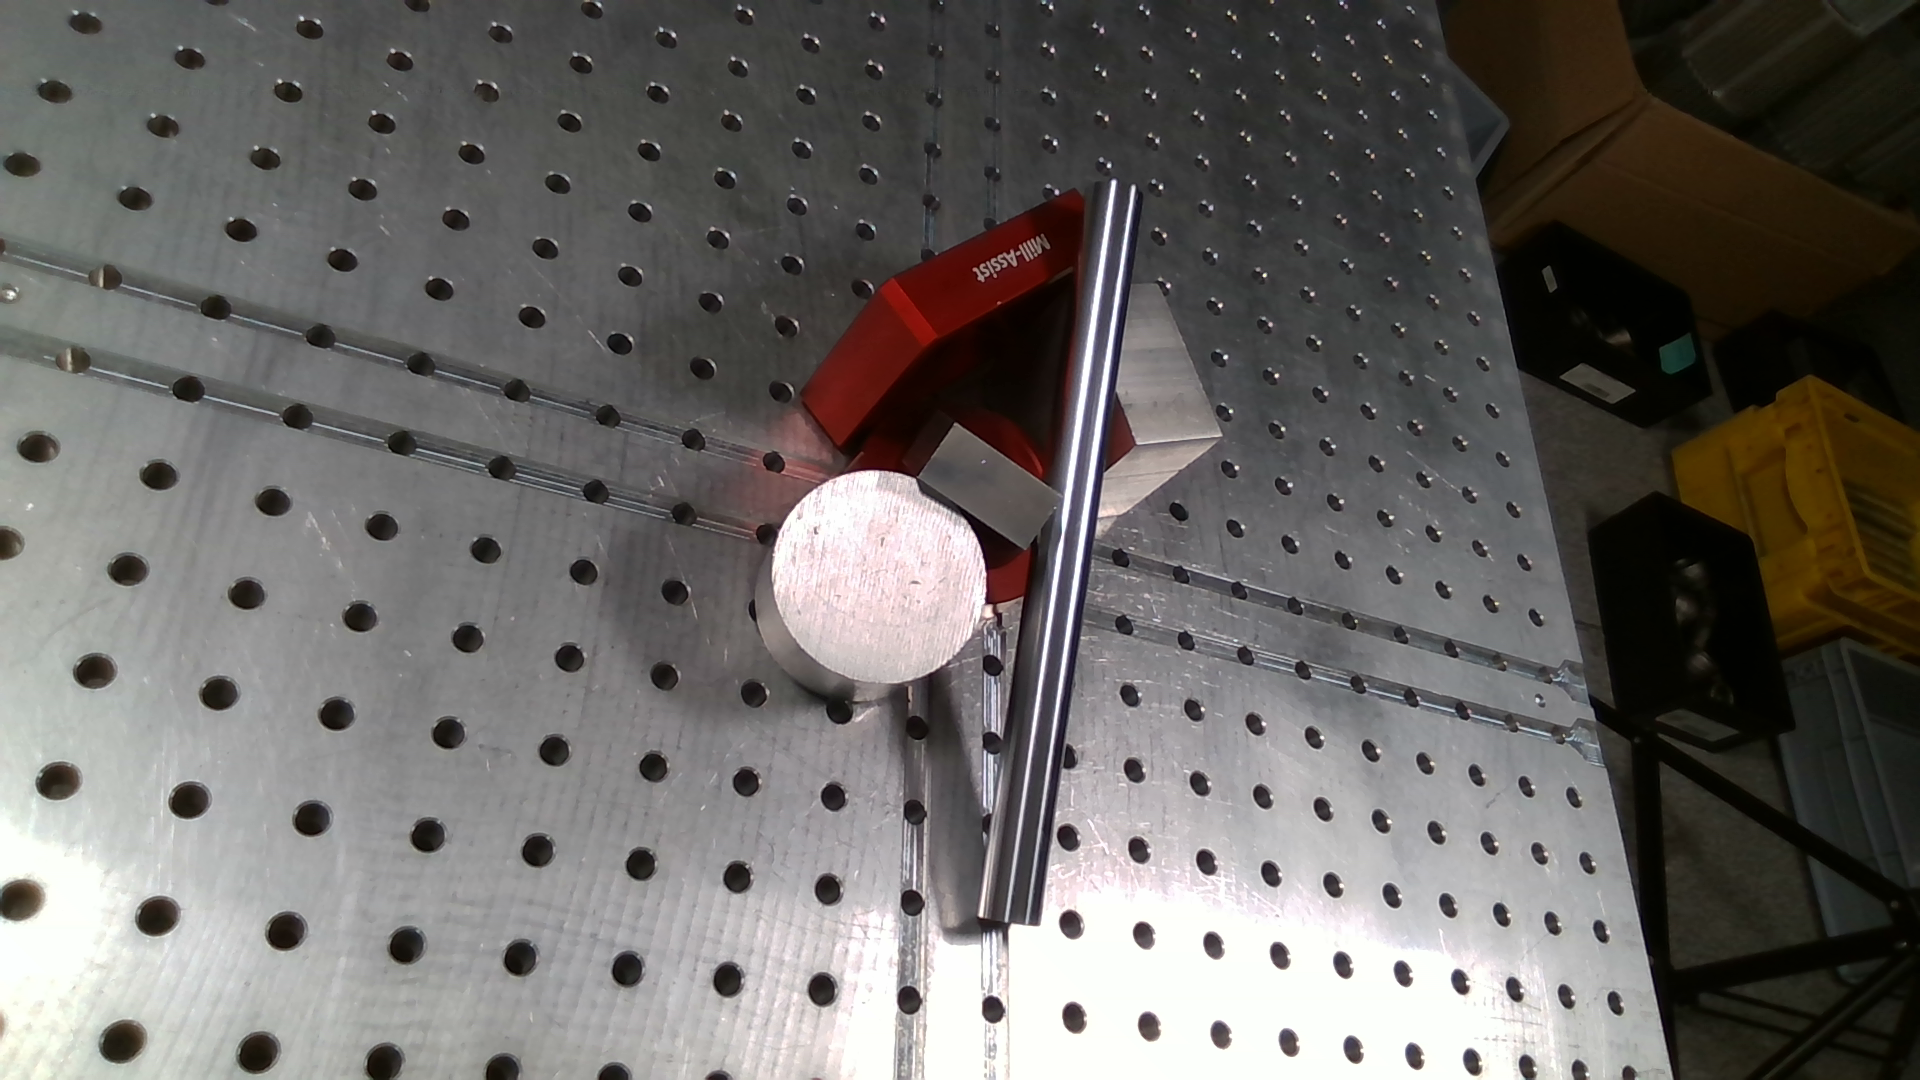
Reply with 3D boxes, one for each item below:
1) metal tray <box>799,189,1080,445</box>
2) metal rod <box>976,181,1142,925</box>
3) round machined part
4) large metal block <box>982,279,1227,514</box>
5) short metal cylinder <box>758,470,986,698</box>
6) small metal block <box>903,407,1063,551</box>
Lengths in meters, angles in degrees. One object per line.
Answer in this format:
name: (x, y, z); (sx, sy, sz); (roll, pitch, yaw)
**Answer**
metal tray: (0.000, -0.097, 0.598); (0.130, 0.090, 0.030); (-35, 86, -39)
metal rod: (0.042, 0.000, 0.553); (0.025, 0.025, 0.300); (14, 78, -25)
round machined part: (0.000, -0.017, 0.591); (0.098, 0.042, 0.098); (14, 59, -25)
large metal block: (0.063, -0.062, 0.624); (0.050, 0.080, 0.080); (-8, 70, -34)
short metal cylinder: (-0.035, 0.018, 0.526); (0.080, 0.050, 0.080); (4, 76, -15)
small metal block: (0.008, -0.025, 0.534); (0.050, 0.050, 0.025); (34, 94, -14)
